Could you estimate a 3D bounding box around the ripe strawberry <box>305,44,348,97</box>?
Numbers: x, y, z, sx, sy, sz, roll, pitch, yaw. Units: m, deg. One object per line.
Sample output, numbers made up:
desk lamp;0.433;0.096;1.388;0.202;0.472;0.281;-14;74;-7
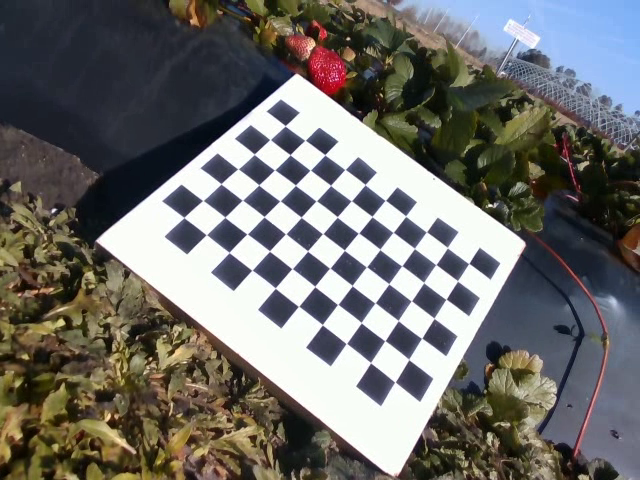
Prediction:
ripe strawberry;0.000;-0.179;0.615;0.058;0.066;0.062;-15;-24;6
